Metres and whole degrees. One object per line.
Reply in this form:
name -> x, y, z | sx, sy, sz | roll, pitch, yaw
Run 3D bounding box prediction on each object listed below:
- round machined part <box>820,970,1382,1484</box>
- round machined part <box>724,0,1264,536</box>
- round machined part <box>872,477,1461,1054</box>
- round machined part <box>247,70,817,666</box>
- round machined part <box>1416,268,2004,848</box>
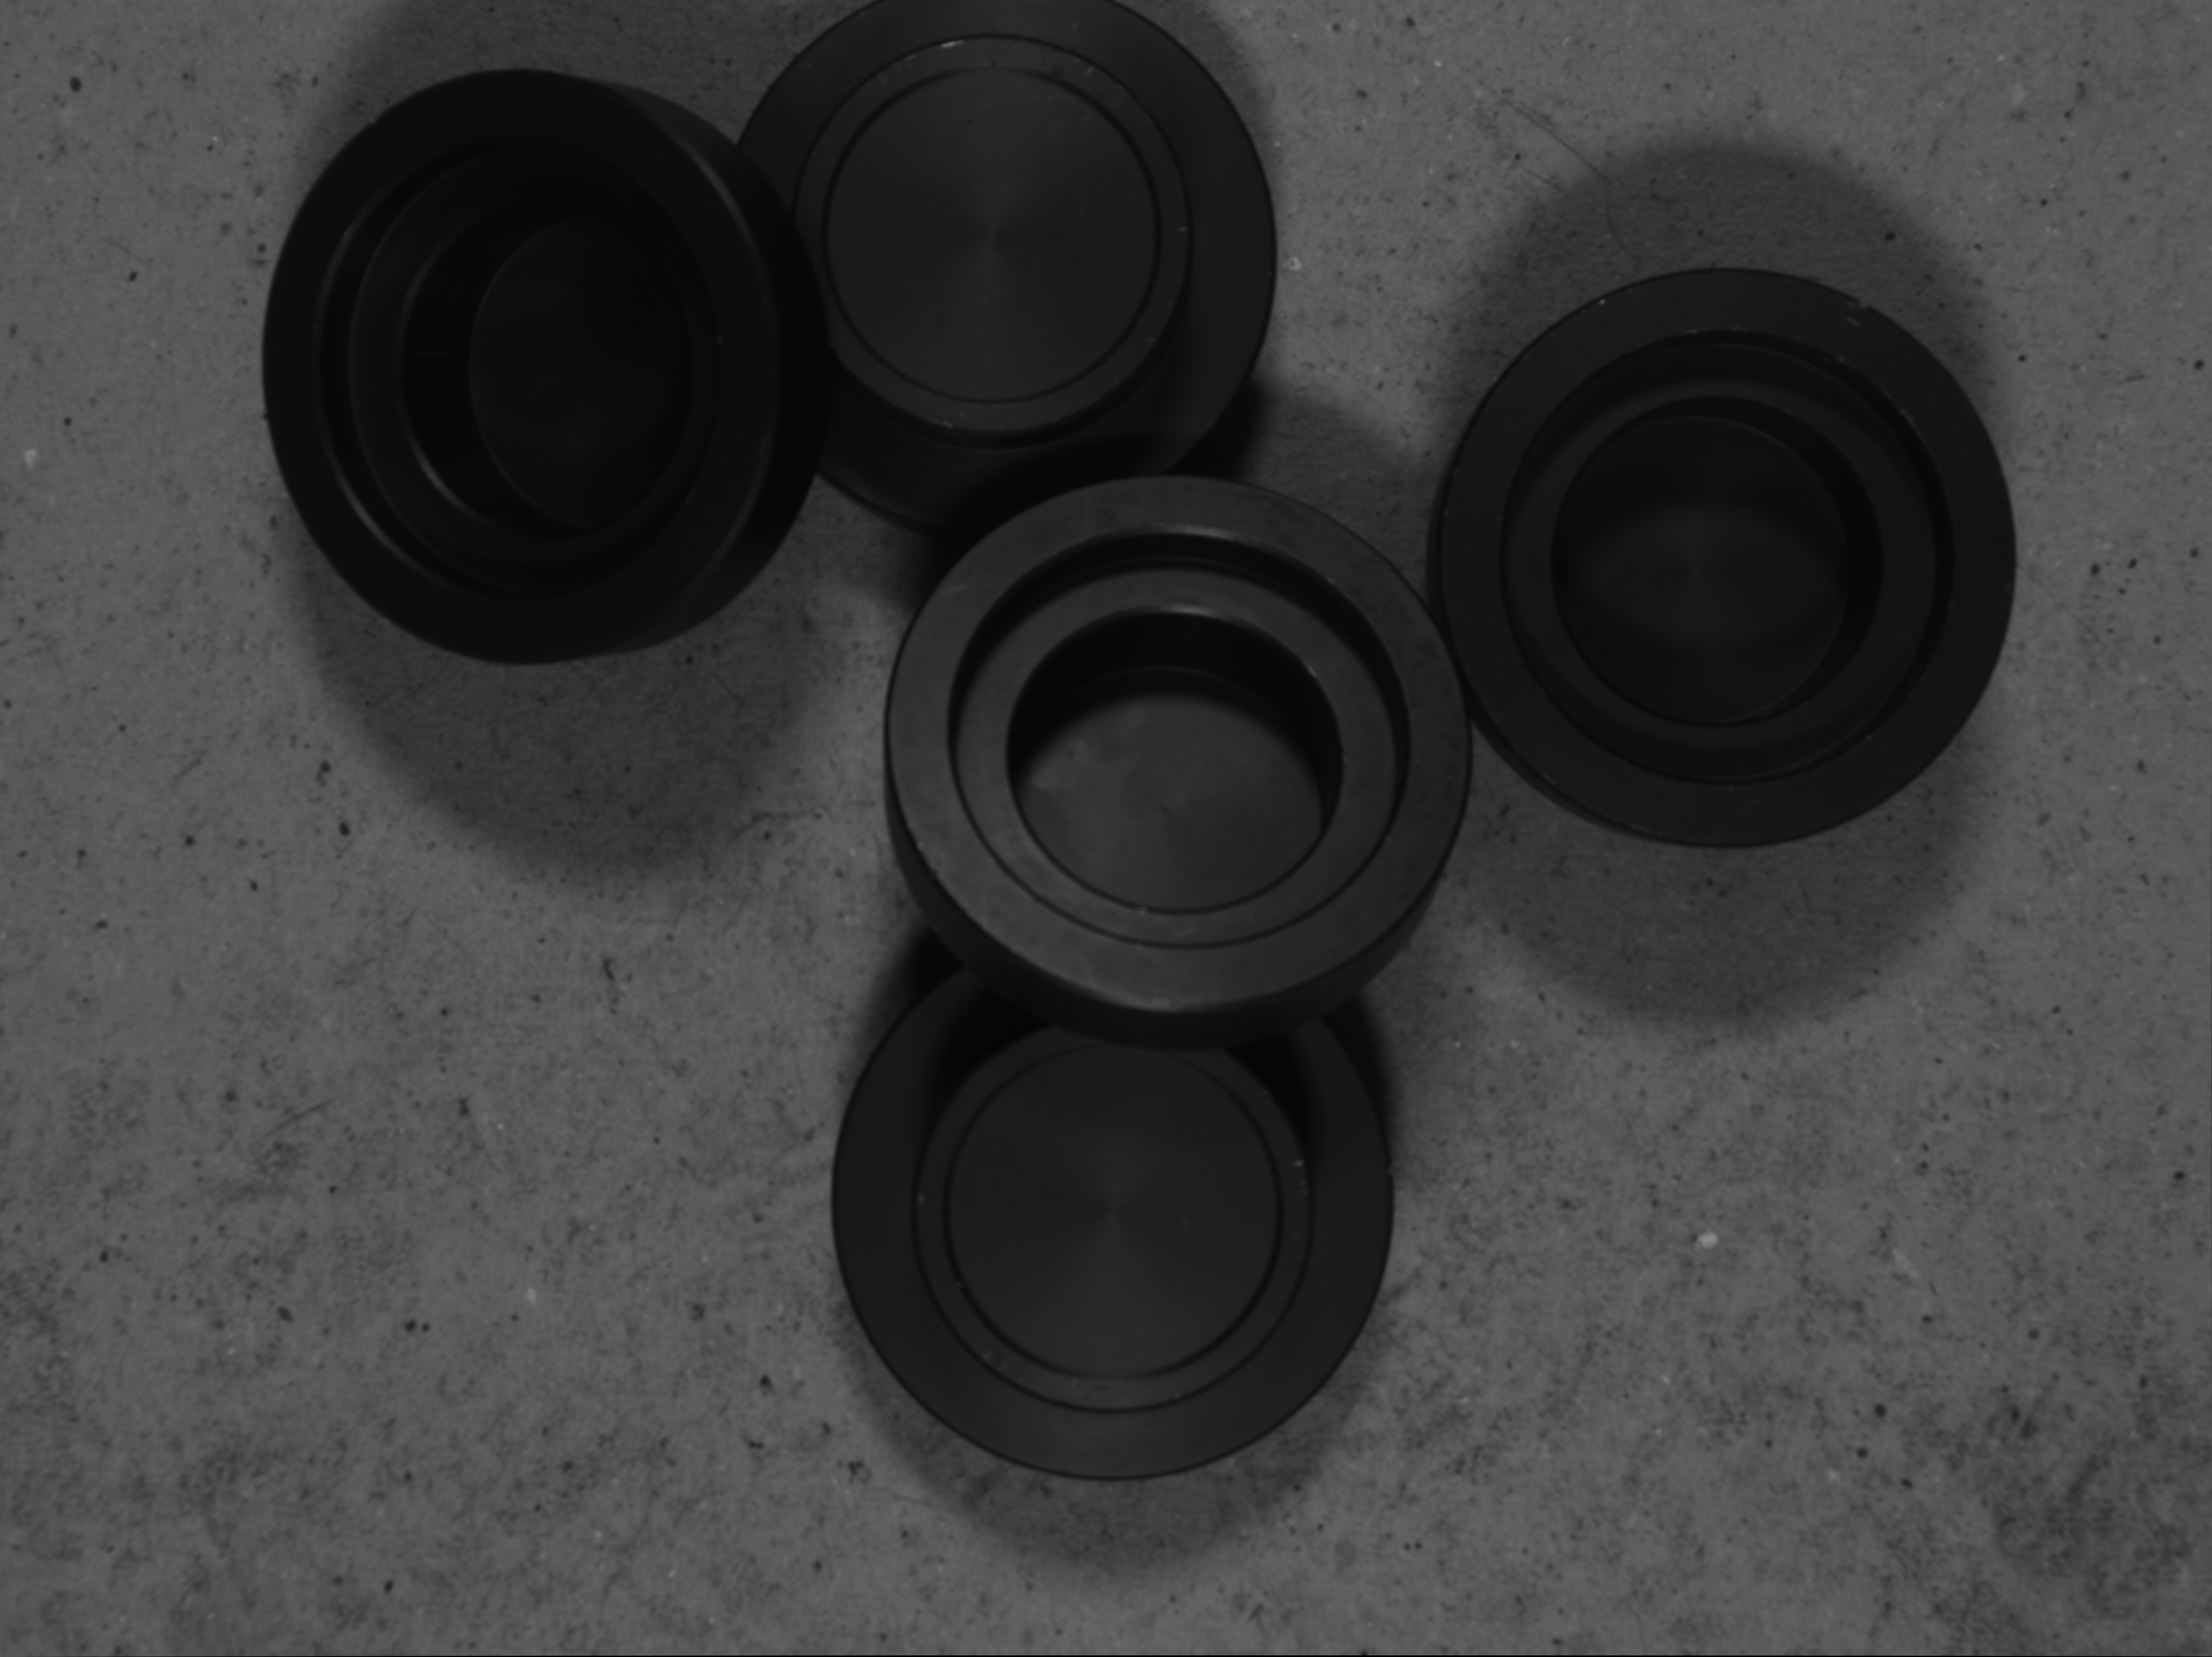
round machined part -> -0.001, 0.065, 0.636 | 0.098, 0.042, 0.098 | 0, 90, 0
round machined part -> -0.021, -0.100, 0.636 | 0.098, 0.042, 0.098 | 0, 90, 0
round machined part -> 0.009, -0.007, 0.626 | 0.098, 0.042, 0.098 | 1, 67, -3
round machined part -> -0.093, -0.078, 0.625 | 0.098, 0.042, 0.098 | 3, 98, 20
round machined part -> 0.103, -0.046, 0.638 | 0.098, 0.042, 0.098 | 0, 90, 0
